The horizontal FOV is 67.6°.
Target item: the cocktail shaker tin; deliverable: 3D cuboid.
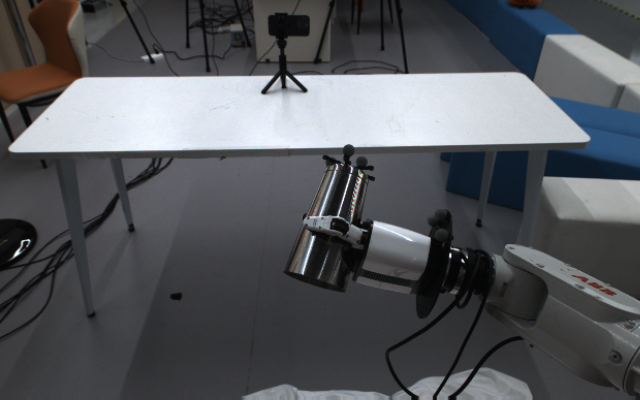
[{"bbox_3d":[0.015,0.037,0.700,0.093,0.093,0.170,14,74,17],"label":"cocktail shaker tin"}]
